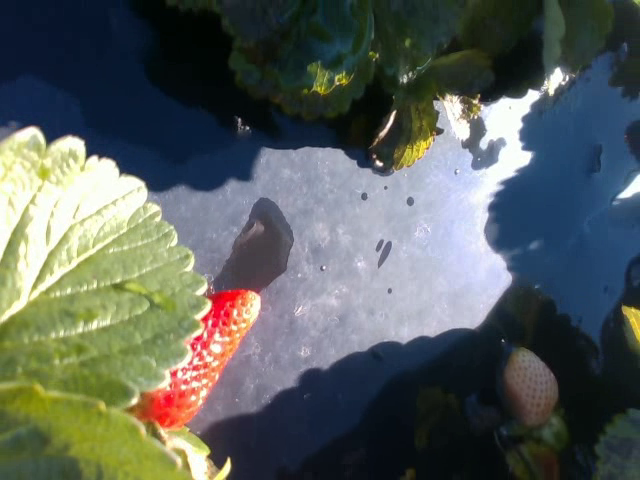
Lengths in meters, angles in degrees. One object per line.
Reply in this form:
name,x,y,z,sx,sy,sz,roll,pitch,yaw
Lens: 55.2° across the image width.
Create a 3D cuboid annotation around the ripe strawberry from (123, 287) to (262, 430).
ripe strawberry,-0.045,0.033,0.198,0.052,0.064,0.050,42,-18,34
